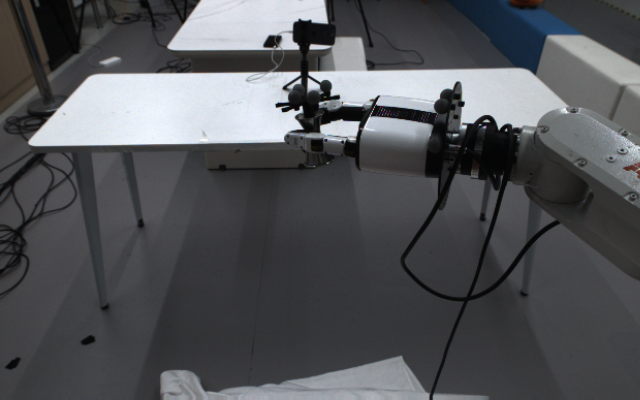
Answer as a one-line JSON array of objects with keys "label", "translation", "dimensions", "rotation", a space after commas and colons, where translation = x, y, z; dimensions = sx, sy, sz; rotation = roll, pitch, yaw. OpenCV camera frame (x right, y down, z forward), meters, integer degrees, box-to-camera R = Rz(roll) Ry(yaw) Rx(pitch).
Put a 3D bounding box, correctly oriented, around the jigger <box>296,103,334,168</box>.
[{"label": "jigger", "translation": [-0.006, -0.086, 0.663], "dimensions": [0.043, 0.071, 0.043], "rotation": [-11, 23, 5]}]
